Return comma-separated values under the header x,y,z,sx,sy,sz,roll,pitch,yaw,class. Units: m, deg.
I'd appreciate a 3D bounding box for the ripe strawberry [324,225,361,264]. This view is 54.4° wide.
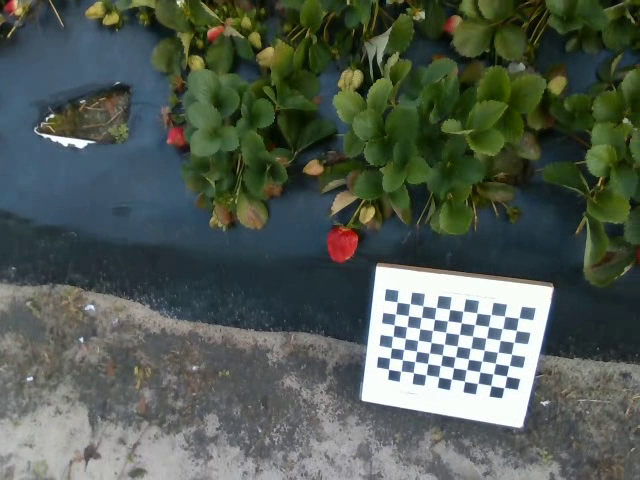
x,y,z,sx,sy,sz,roll,pitch,yaw,class
0.040,0.009,1.166,0.067,0.075,0.039,12,19,10,ripe strawberry
